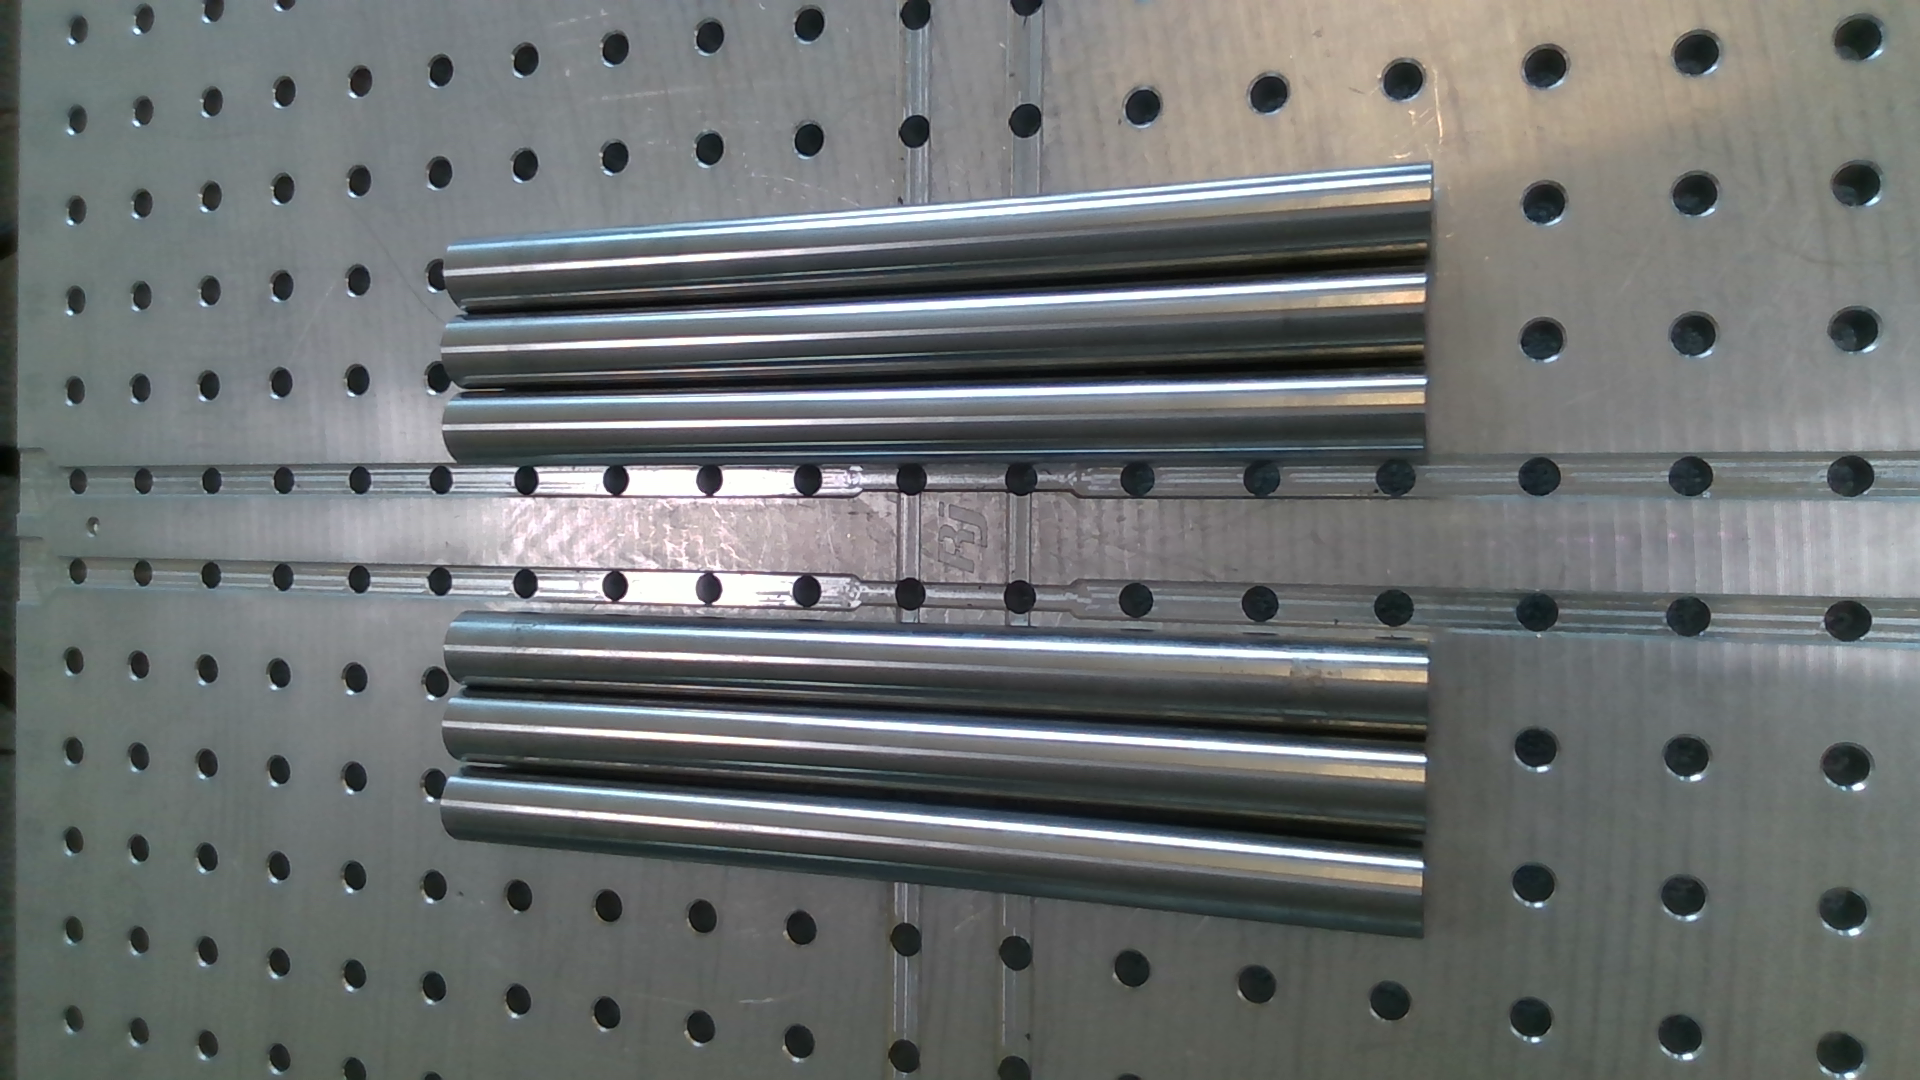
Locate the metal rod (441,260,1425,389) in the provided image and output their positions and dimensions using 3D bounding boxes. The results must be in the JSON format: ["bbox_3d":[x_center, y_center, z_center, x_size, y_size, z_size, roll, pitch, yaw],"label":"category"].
[{"bbox_3d":[-0.022,-0.060,0.403,0.300,0.025,0.025,1,90,20],"label":"metal rod"}]

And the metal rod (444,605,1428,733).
[{"bbox_3d":[-0.021,0.035,0.404,0.300,0.025,0.025,1,90,20],"label":"metal rod"}]

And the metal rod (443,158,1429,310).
[{"bbox_3d":[-0.021,-0.086,0.403,0.300,0.025,0.025,1,90,20],"label":"metal rod"}]

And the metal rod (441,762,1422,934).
[{"bbox_3d":[-0.022,0.087,0.405,0.300,0.025,0.025,1,90,20],"label":"metal rod"}]

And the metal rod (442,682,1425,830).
[{"bbox_3d":[-0.022,0.060,0.404,0.300,0.025,0.025,1,90,20],"label":"metal rod"}]

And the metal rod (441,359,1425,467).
[{"bbox_3d":[-0.022,-0.035,0.404,0.300,0.025,0.025,1,90,20],"label":"metal rod"}]
